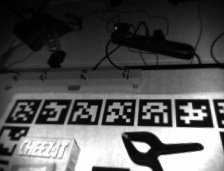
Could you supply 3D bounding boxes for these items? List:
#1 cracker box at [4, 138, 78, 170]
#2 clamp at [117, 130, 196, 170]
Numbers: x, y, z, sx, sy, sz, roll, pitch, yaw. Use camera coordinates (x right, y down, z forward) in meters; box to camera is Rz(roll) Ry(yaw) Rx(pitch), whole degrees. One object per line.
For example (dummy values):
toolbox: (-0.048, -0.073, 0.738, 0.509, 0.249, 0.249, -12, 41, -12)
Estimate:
cracker box: (-0.199, 0.243, 0.545, 0.163, 0.072, 0.213, 0, 49, 13)
clamp: (0.097, 0.176, 0.580, 0.200, 0.037, 0.166, 25, 57, 30)
